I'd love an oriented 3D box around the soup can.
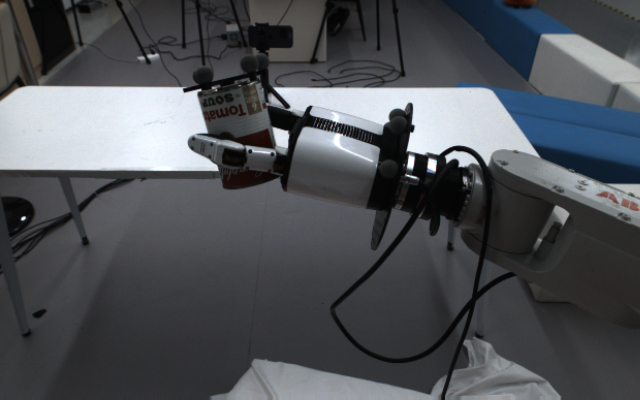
[{"bbox_3d":[-0.081,-0.071,0.509,0.067,0.101,0.067,-12,17,4],"label":"soup can"}]
